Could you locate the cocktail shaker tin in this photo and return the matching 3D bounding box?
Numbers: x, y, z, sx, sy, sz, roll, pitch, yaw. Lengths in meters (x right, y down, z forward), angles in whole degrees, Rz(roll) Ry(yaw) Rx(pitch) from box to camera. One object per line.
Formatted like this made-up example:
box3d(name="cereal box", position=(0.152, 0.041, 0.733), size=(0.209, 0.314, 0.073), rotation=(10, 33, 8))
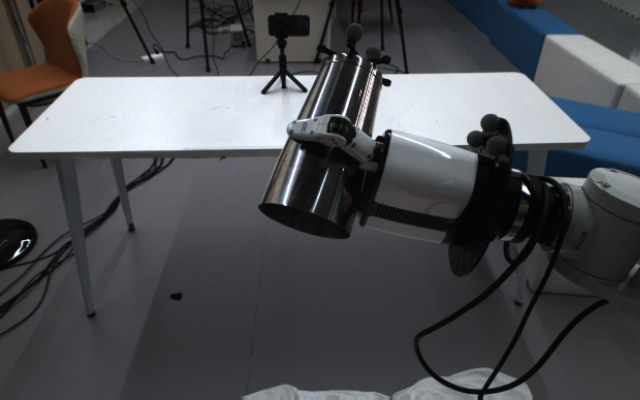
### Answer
box3d(name="cocktail shaker tin", position=(0.011, -0.055, 0.485), size=(0.093, 0.093, 0.170), rotation=(13, 74, 16))
